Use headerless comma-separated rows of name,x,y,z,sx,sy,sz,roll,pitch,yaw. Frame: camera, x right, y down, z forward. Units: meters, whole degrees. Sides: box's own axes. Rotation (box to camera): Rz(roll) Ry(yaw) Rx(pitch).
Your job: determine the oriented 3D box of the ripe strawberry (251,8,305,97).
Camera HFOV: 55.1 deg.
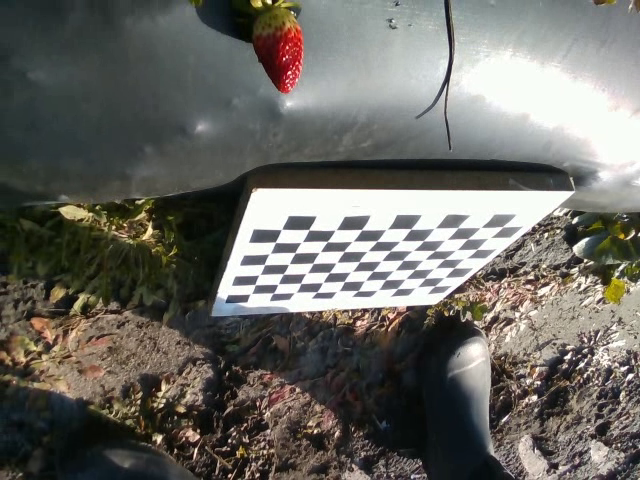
ripe strawberry,-0.018,-0.085,0.282,0.028,0.041,0.031,-11,8,5
